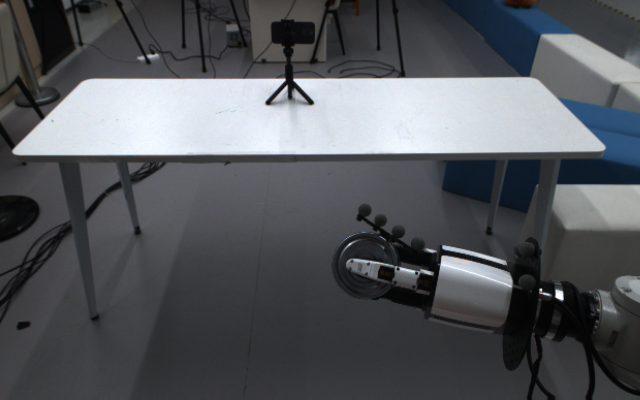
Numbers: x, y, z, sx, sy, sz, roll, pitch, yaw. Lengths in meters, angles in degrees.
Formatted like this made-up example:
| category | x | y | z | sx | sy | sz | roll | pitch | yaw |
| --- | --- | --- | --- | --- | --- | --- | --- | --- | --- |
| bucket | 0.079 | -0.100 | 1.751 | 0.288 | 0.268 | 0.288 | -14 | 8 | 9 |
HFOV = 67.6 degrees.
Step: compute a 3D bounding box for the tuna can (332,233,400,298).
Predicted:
| category | x | y | z | sx | sy | sz | roll | pitch | yaw |
| --- | --- | --- | --- | --- | --- | --- | --- | --- | --- |
| tuna can | 0.063 | 0.089 | 0.614 | 0.085 | 0.085 | 0.034 | 12 | -4 | 15 |
